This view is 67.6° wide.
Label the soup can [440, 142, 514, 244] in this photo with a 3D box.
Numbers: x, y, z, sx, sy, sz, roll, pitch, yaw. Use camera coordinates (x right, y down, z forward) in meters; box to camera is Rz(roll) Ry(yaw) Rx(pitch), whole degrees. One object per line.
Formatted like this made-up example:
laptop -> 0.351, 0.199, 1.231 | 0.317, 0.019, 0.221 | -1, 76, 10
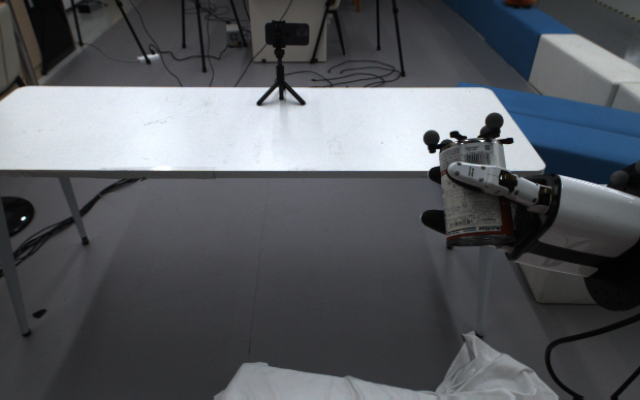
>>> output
soup can -> 0.163, -0.010, 0.508 | 0.067, 0.067, 0.101 | -1, 76, -4
